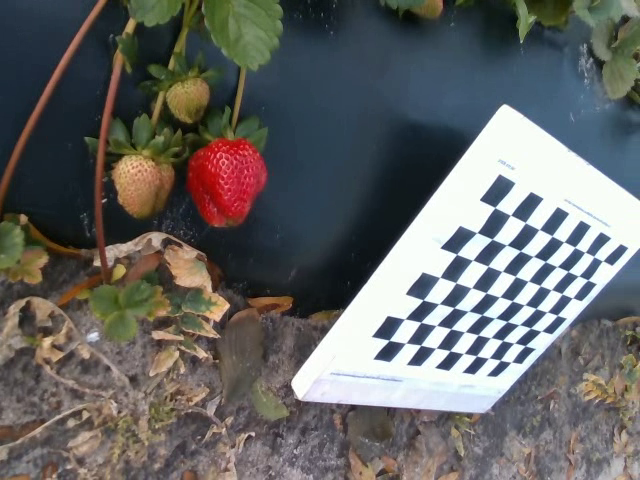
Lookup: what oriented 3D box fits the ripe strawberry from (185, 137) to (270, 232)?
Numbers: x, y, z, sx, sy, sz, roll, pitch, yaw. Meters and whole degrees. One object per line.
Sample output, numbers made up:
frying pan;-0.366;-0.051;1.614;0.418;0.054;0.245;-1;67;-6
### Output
ripe strawberry;-0.053;-0.031;0.390;0.066;0.075;0.053;-3;39;-33
